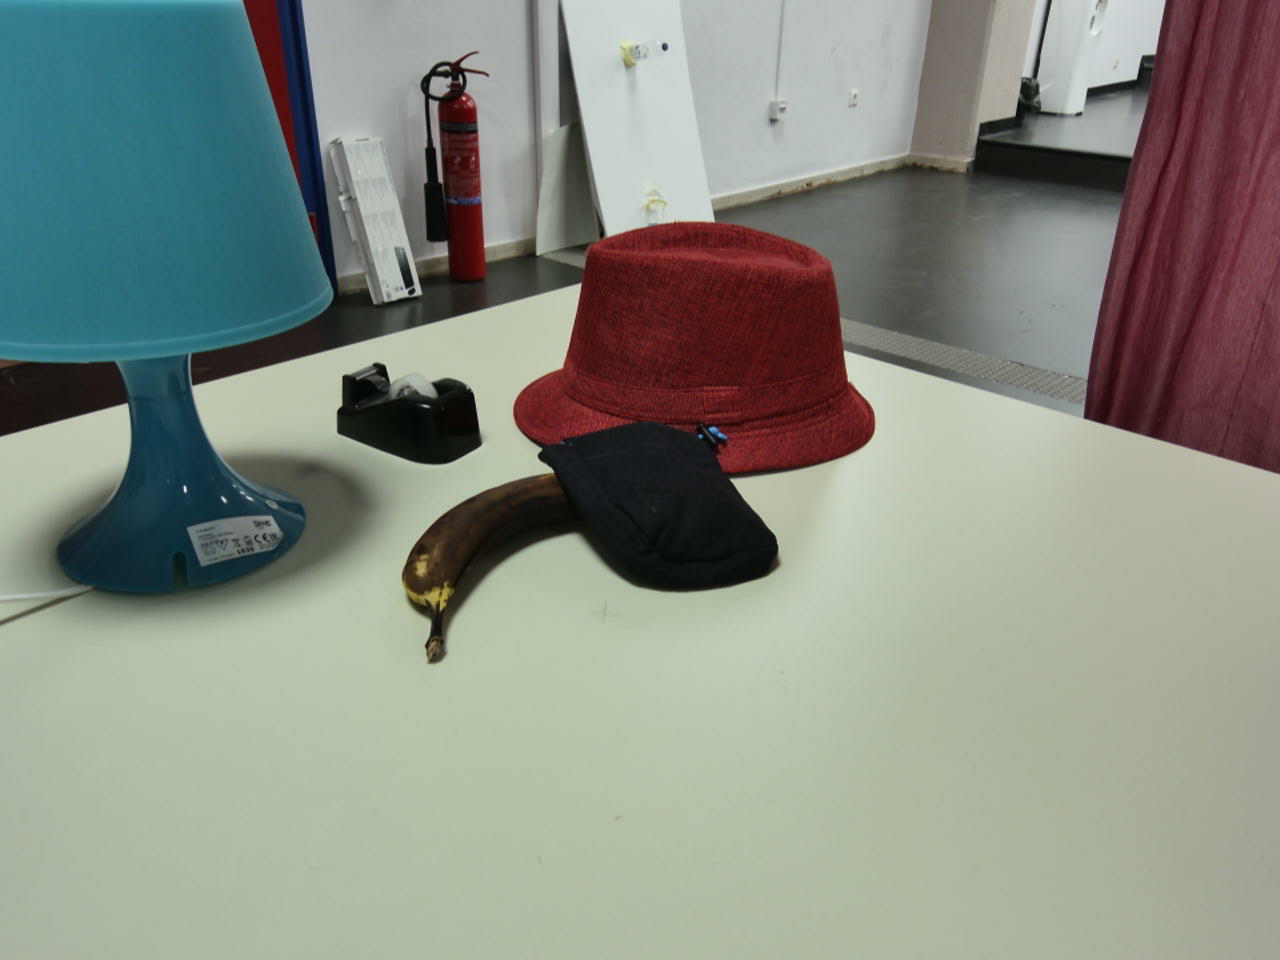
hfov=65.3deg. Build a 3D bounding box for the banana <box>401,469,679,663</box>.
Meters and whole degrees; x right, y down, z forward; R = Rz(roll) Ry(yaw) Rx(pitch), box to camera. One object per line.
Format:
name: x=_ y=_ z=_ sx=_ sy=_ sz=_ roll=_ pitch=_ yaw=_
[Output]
banana: x=-0.067 y=0.030 z=0.562 sx=0.091 sy=0.034 sz=0.188 roll=23 pitch=33 yaw=38
